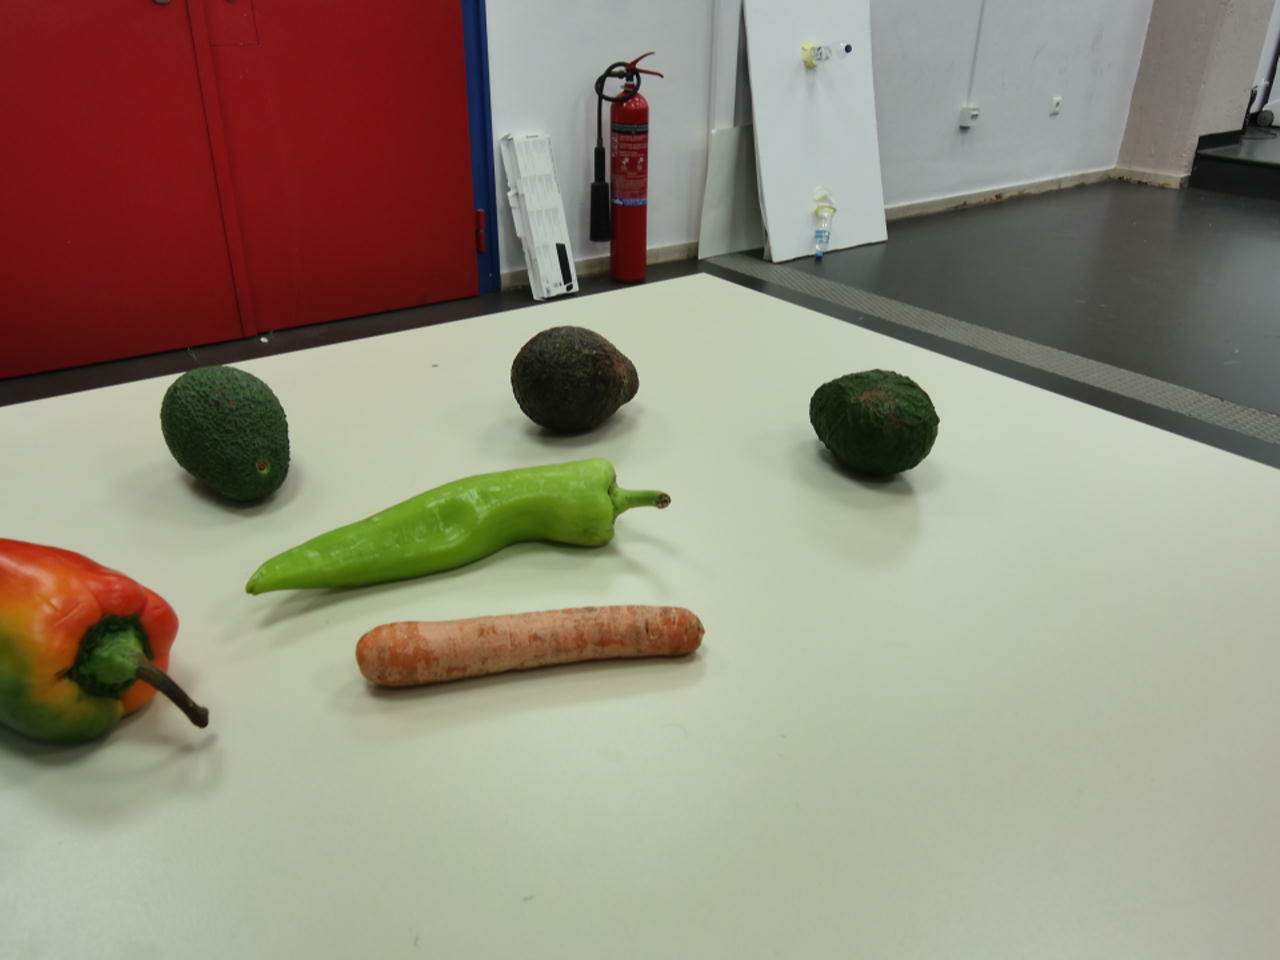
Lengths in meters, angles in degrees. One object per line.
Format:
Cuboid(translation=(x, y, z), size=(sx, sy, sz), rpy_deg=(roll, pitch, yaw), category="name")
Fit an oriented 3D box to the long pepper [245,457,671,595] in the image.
Cuboid(translation=(-0.090, 0.023, 0.501), size=(0.204, 0.045, 0.065), rpy_deg=(-9, 27, -19), category="long pepper")
